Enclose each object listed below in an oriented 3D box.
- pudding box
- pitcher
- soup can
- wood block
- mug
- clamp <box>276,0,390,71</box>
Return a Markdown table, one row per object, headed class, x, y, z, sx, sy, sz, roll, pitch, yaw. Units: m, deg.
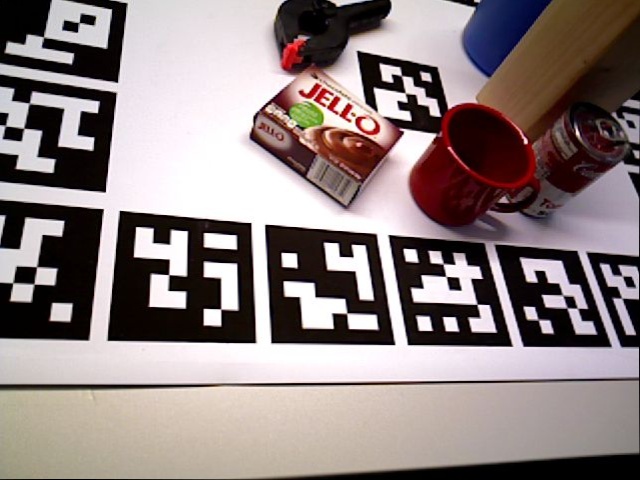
| class | x | y | z | sx | sy | sz | roll | pitch | yaw |
| --- | --- | --- | --- | --- | --- | --- | --- | --- | --- |
| pudding box | 0.000 | -0.098 | 0.487 | 0.114 | 0.039 | 0.088 | 36 | 59 | 3 |
| pitcher | 0.274 | -0.287 | 0.570 | 0.186 | 0.248 | 0.132 | 3 | 58 | -16 |
| soup can | 0.233 | -0.073 | 0.517 | 0.067 | 0.104 | 0.067 | 8 | 61 | -17 |
| wood block | 0.258 | -0.175 | 0.519 | 0.088 | 0.211 | 0.090 | 3 | 60 | -23 |
| mug | 0.144 | -0.057 | 0.489 | 0.117 | 0.083 | 0.091 | 35 | 53 | 2 |
| clamp | 0.002 | -0.234 | 0.571 | 0.121 | 0.037 | 0.162 | 33 | 56 | -9 |
